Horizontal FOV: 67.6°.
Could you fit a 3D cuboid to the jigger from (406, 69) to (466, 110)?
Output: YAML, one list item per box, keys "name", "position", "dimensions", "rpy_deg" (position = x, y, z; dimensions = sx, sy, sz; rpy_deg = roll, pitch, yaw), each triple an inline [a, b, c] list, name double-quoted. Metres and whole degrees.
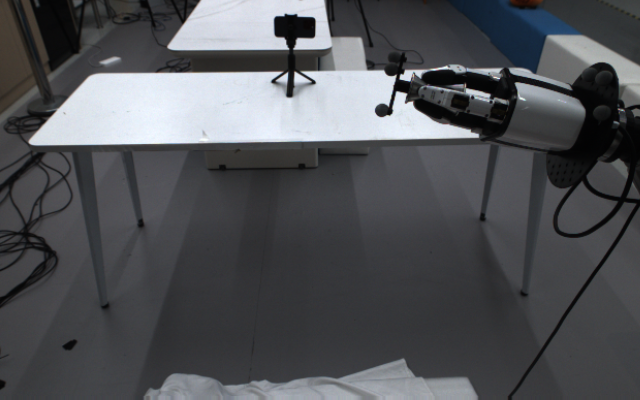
- name: "jigger"
  position: [0.150, -0.141, 0.624]
  dimensions: [0.071, 0.043, 0.043]
  rpy_deg: [14, 36, 4]
